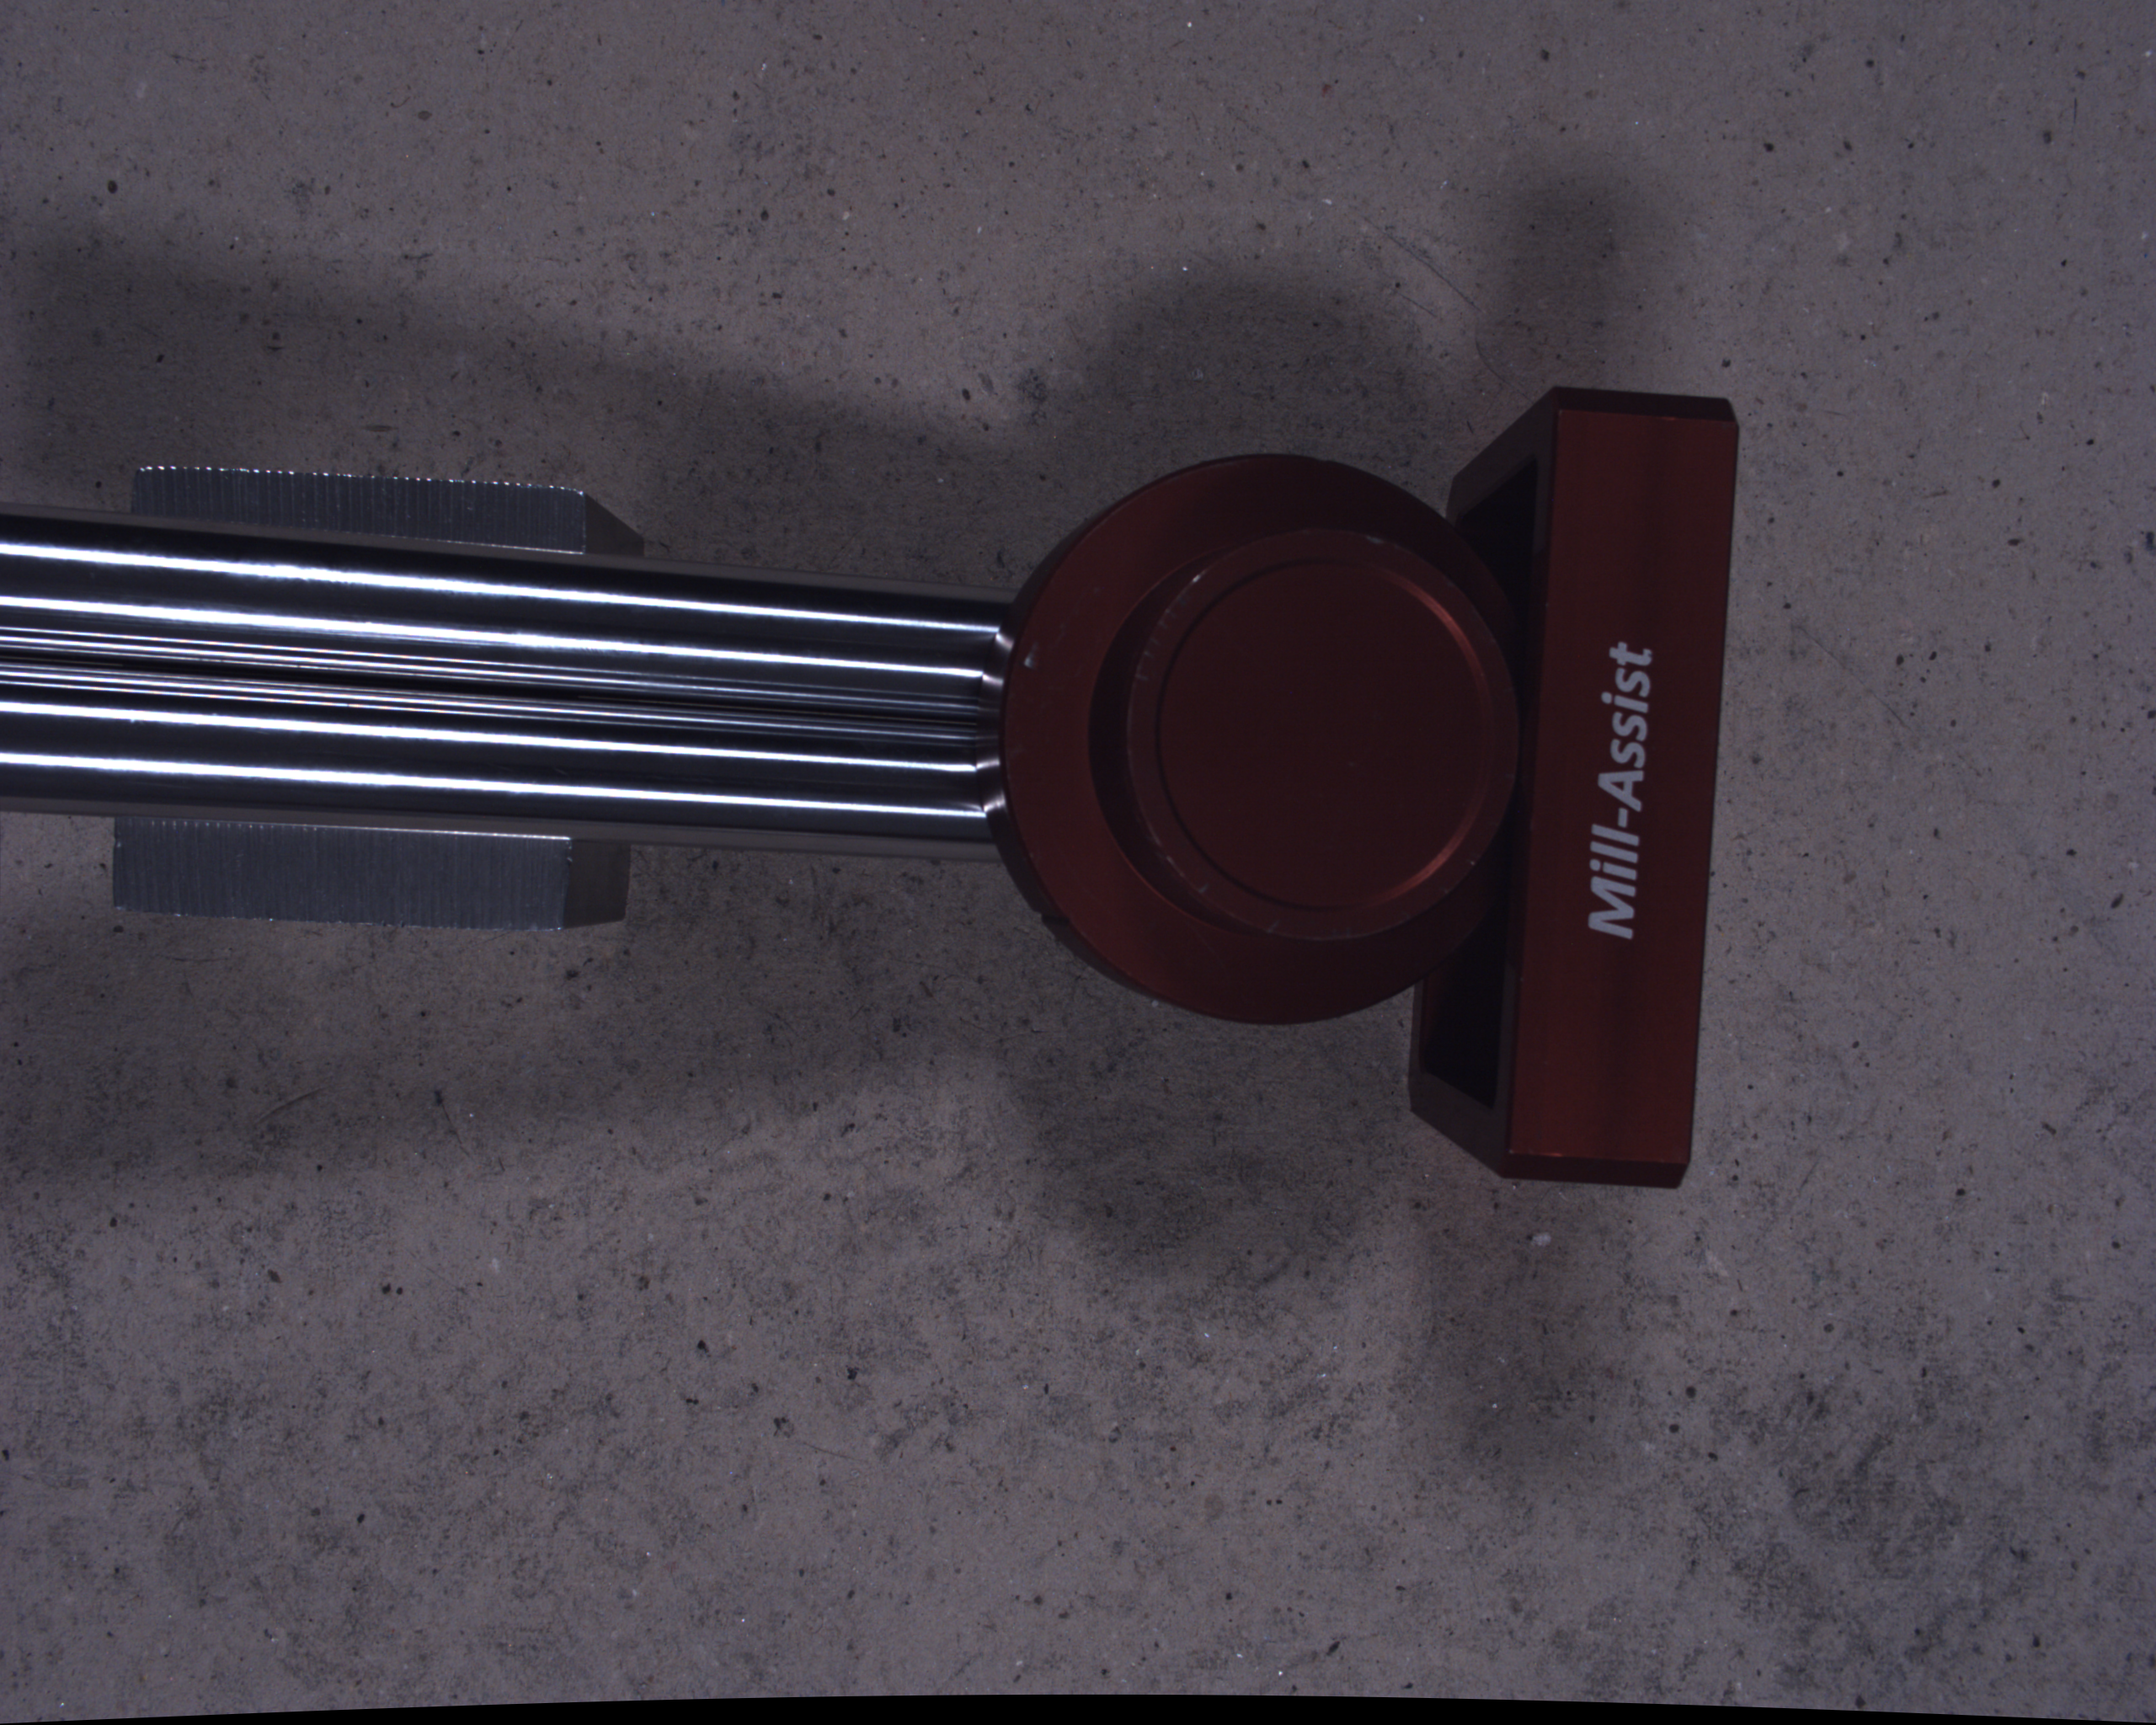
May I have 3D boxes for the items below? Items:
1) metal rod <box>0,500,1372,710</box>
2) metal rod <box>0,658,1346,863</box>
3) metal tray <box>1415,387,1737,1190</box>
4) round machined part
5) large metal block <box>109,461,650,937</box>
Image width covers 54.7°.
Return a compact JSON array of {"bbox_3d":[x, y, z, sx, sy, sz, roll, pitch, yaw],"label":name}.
[{"bbox_3d":[-0.064,-0.042,0.365,0.302,0.025,0.025,2,90,-13],"label":"metal rod"},{"bbox_3d":[-0.066,-0.015,0.365,0.302,0.025,0.025,3,90,-13],"label":"metal rod"},{"bbox_3d":[0.087,-0.012,0.379,0.030,0.090,0.129,4,90,0],"label":"metal tray"},{"bbox_3d":[0.034,-0.021,0.354,0.099,0.042,0.097,0,92,-11],"label":"round machined part"},{"bbox_3d":[-0.128,-0.029,0.393,0.081,0.050,0.079,3,90,-1],"label":"large metal block"}]
